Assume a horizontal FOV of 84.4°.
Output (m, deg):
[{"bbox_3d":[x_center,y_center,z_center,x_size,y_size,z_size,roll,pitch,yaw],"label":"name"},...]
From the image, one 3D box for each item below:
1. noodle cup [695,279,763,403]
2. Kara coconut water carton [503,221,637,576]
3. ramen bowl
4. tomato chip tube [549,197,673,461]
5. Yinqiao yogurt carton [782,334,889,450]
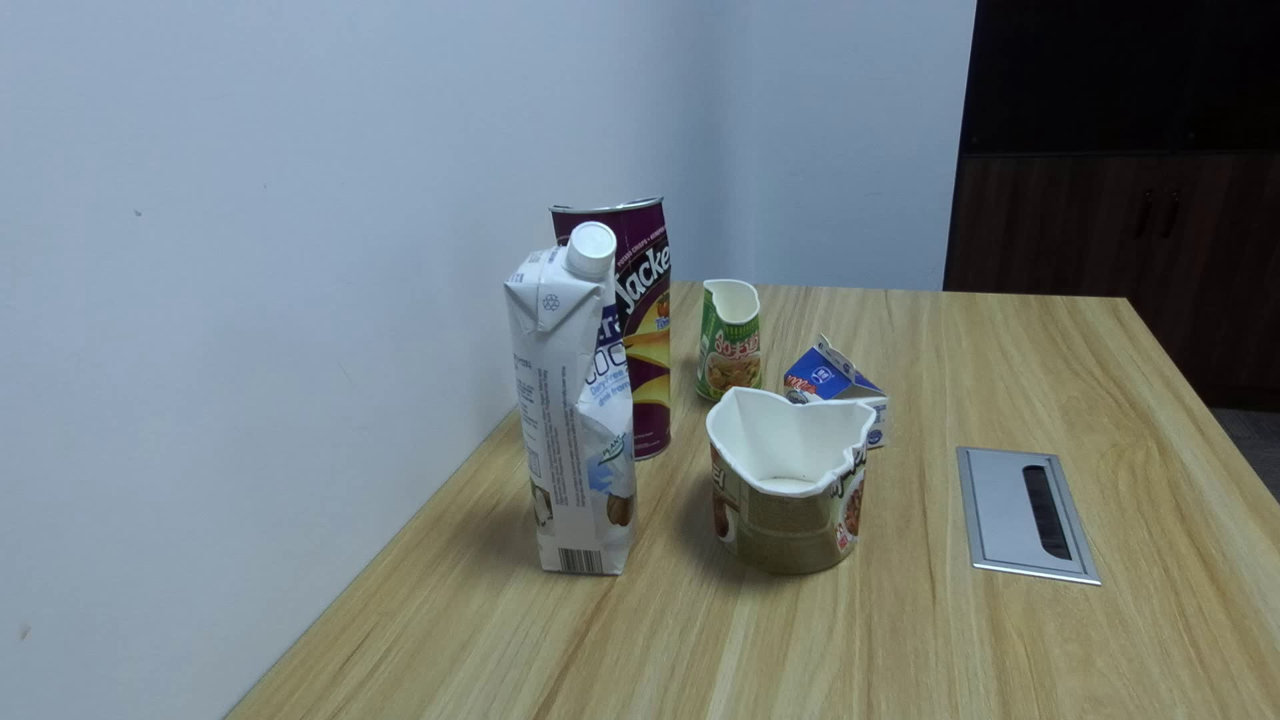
[{"bbox_3d":[0.092,-0.017,0.735,0.070,0.111,0.115,2,27,16],"label":"noodle cup"},{"bbox_3d":[-0.045,0.032,0.501,0.078,0.256,0.083,8,28,22],"label":"Kara coconut water carton"},{"bbox_3d":[0.107,0.093,0.526,0.113,0.097,0.134,7,27,21],"label":"ramen bowl"},{"bbox_3d":[-0.016,-0.028,0.643,0.077,0.235,0.076,17,34,39],"label":"tomato chip tube"},{"bbox_3d":[0.179,0.030,0.652,0.074,0.092,0.075,-9,27,-10],"label":"Yinqiao yogurt carton"}]
